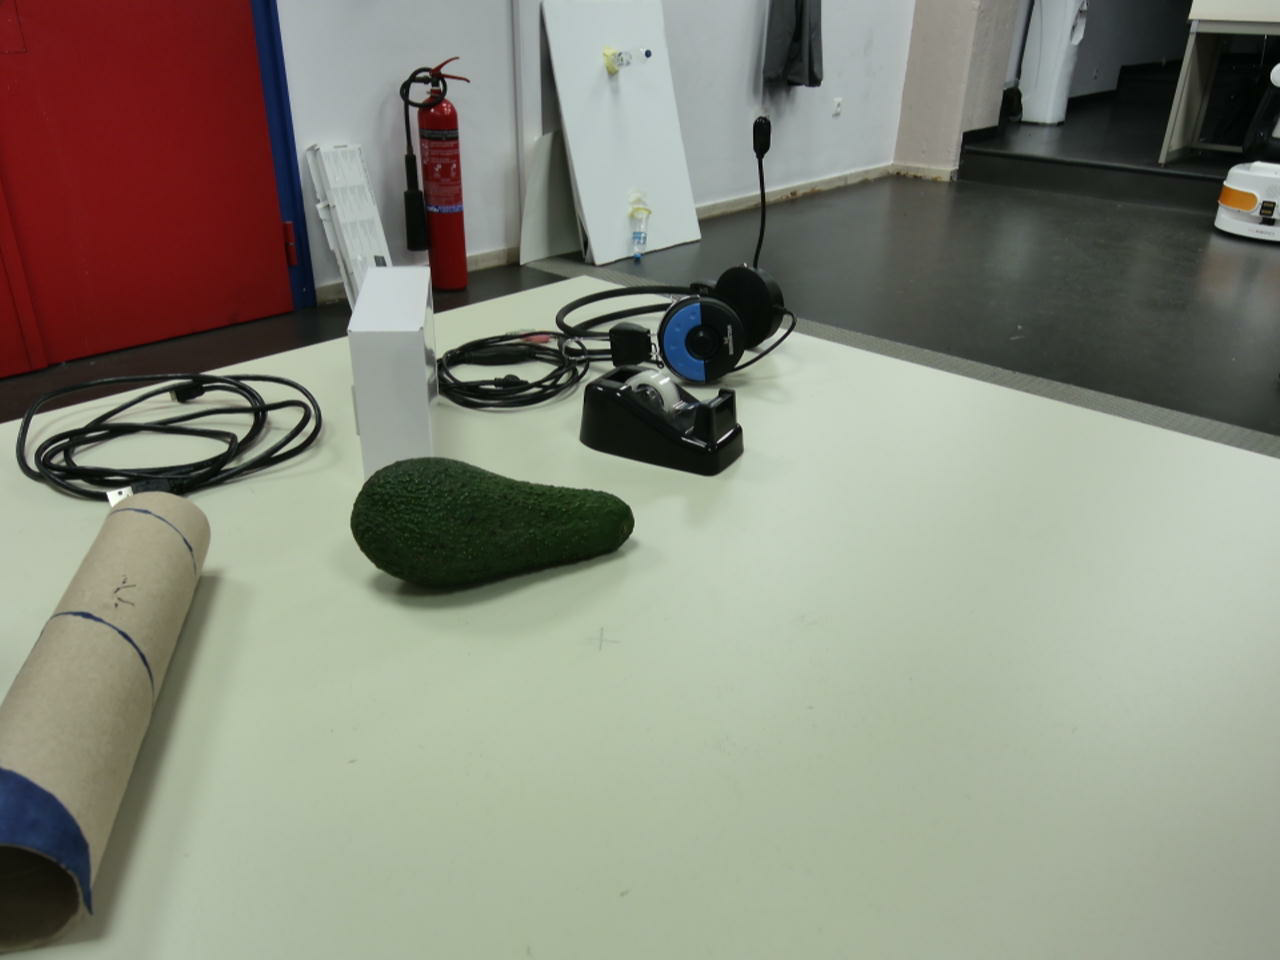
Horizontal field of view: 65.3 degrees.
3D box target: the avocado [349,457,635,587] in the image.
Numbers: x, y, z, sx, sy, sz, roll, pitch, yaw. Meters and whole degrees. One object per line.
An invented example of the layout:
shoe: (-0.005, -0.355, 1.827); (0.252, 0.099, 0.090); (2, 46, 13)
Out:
avocado: (-0.071, 0.013, 0.495); (0.141, 0.067, 0.063); (-15, 29, -31)
